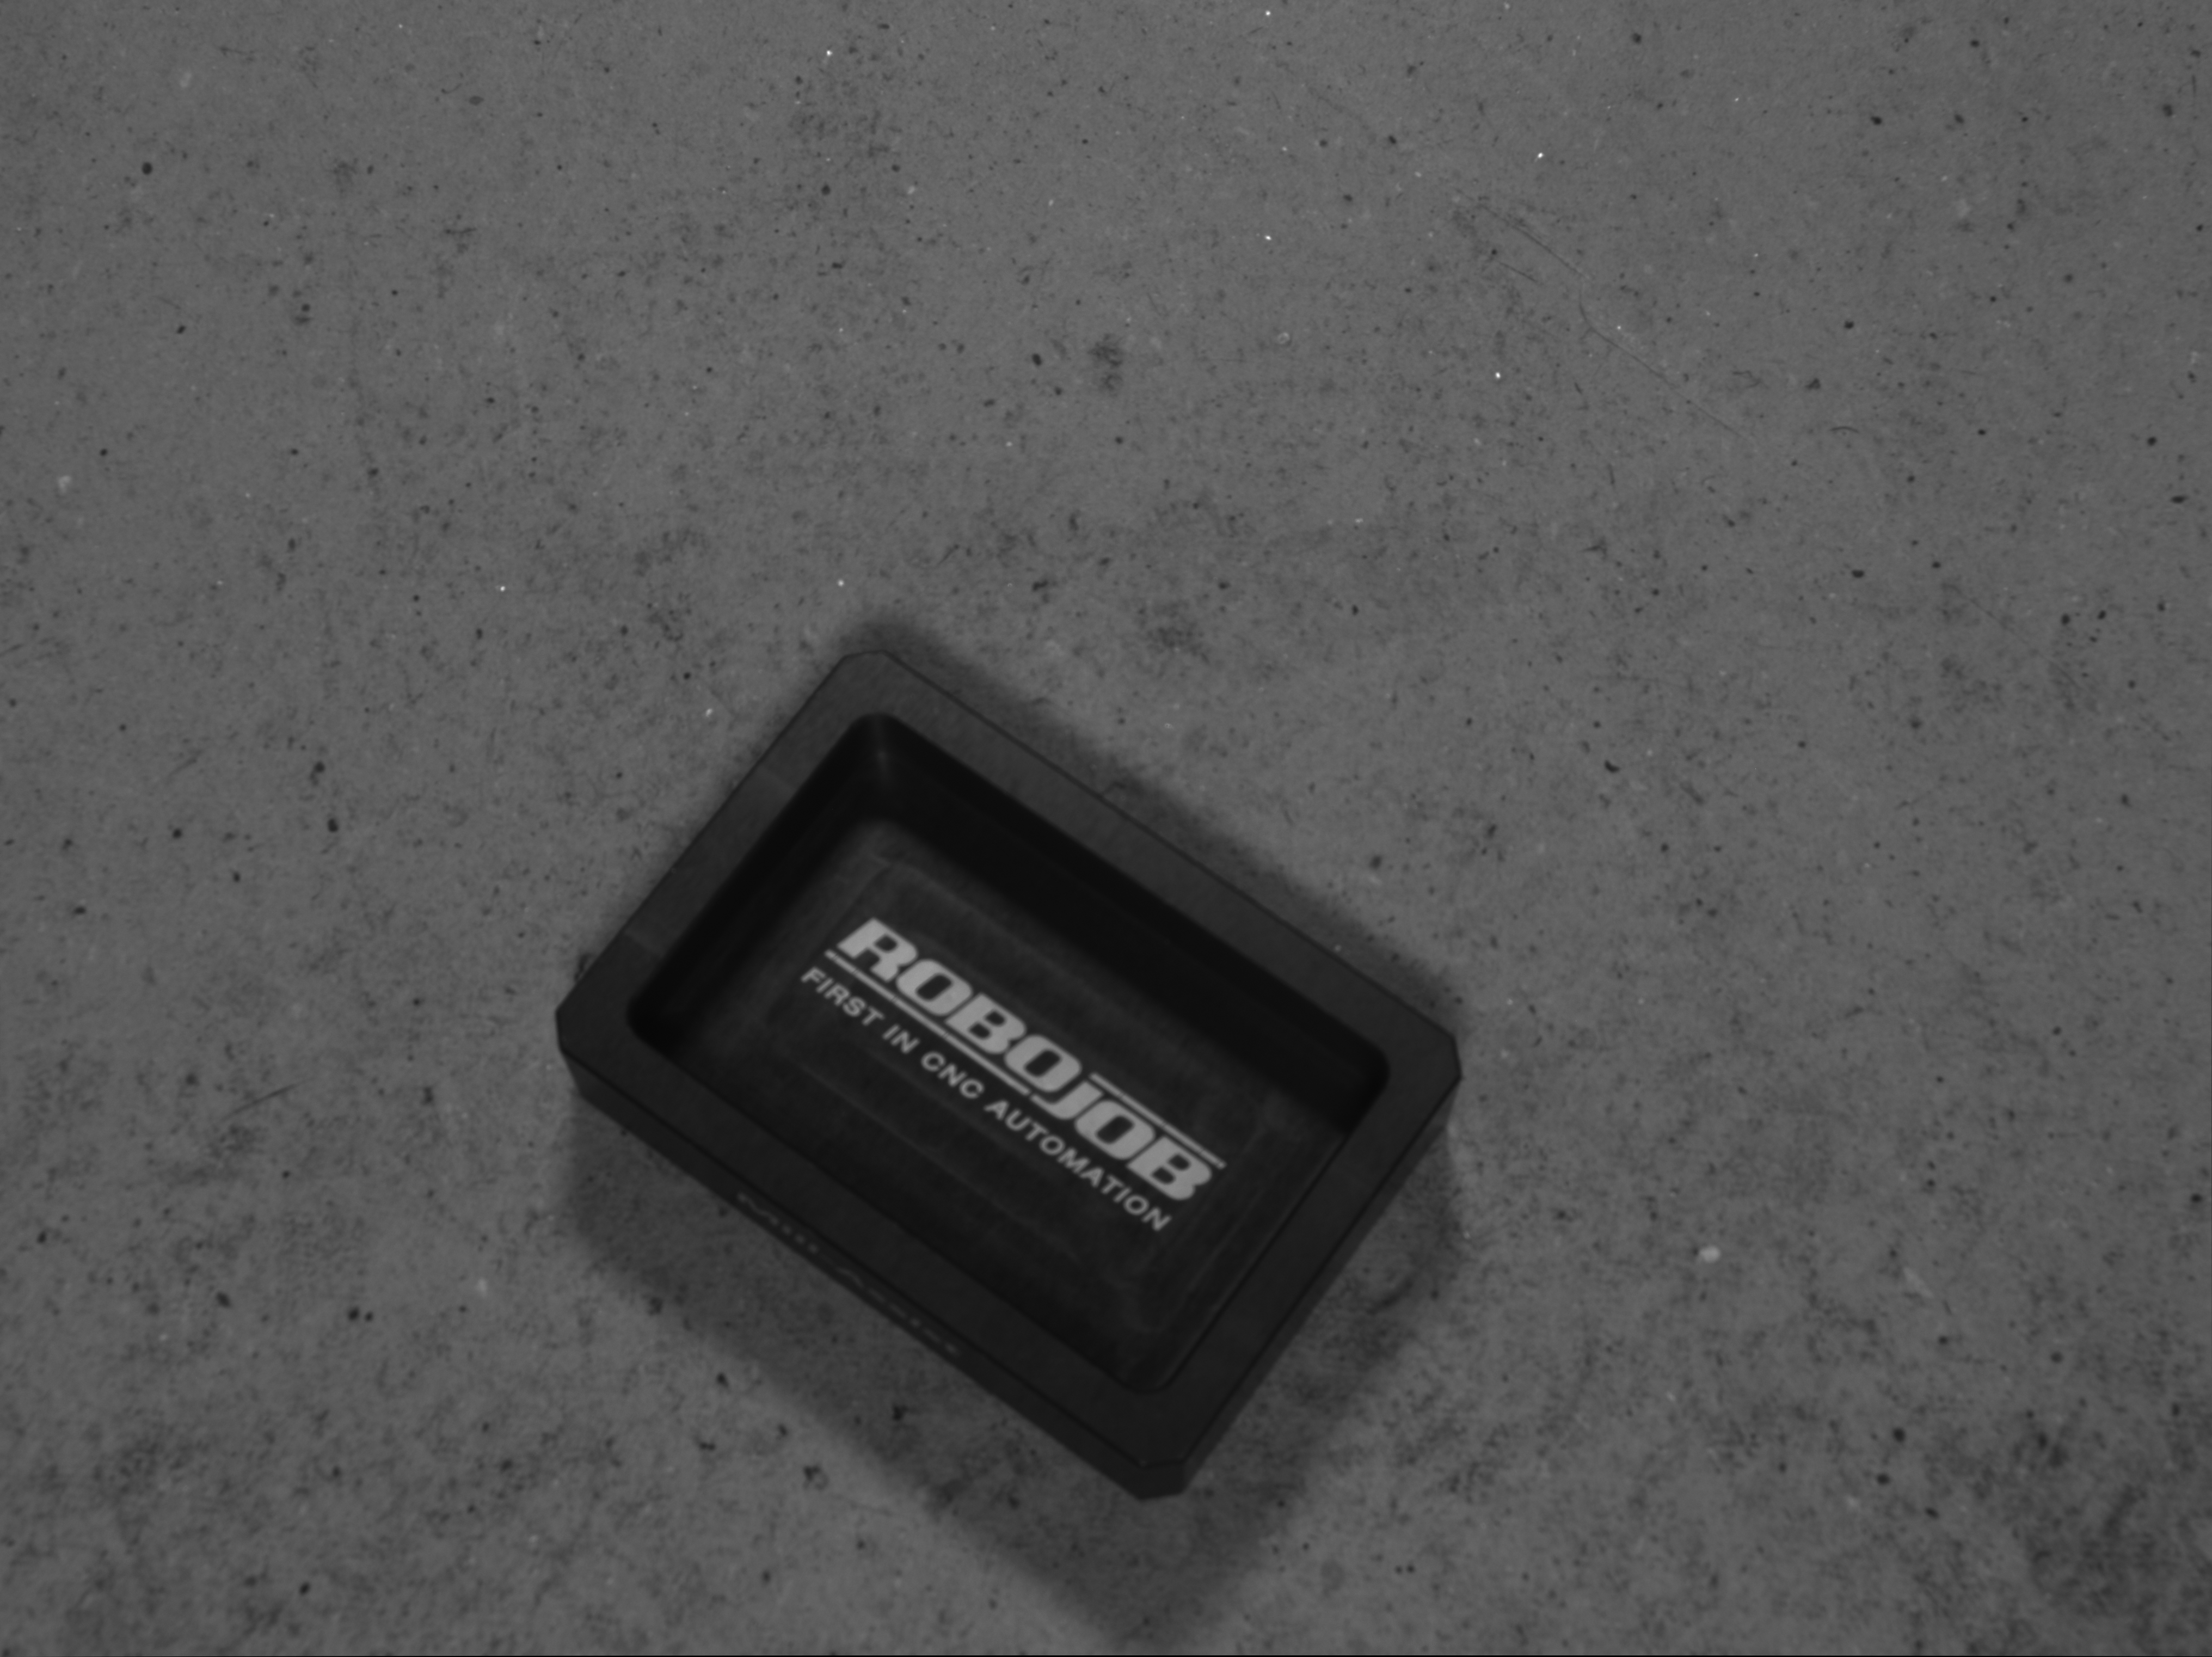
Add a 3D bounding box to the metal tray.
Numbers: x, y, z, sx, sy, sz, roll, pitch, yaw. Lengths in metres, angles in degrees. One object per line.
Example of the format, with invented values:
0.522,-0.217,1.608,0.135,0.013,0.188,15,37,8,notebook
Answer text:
-0.014,0.041,0.627,0.130,0.030,0.090,34,73,12,metal tray
